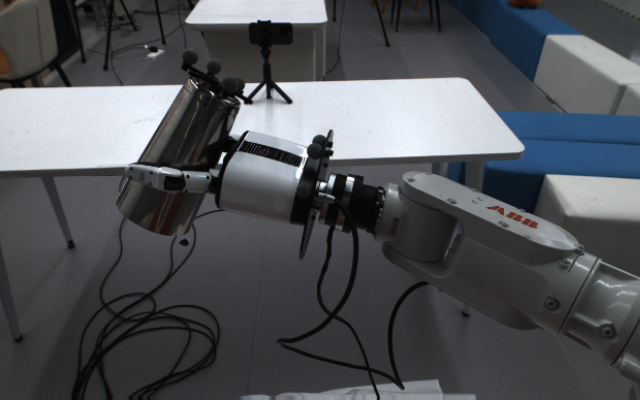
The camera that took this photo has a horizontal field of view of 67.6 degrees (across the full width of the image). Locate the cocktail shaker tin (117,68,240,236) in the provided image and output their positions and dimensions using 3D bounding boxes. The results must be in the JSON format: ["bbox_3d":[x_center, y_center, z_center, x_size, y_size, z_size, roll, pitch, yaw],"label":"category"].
[{"bbox_3d":[-0.159,-0.055,0.567,0.093,0.170,0.093,28,14,-7],"label":"cocktail shaker tin"}]
